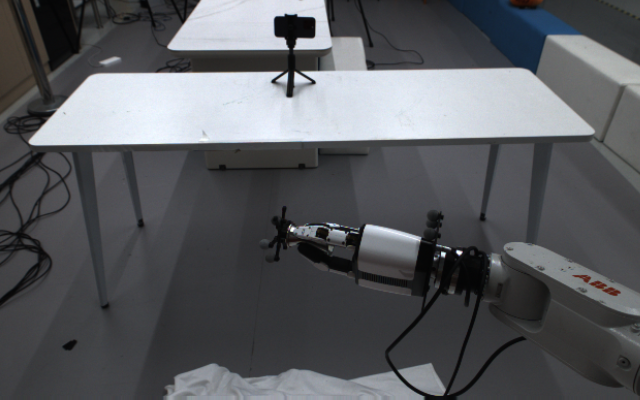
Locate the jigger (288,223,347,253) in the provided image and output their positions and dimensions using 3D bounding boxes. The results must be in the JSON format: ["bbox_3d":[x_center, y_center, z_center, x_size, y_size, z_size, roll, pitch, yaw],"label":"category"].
[{"bbox_3d":[-0.007,0.055,0.751,0.071,0.043,0.043,7,35,16],"label":"jigger"}]
